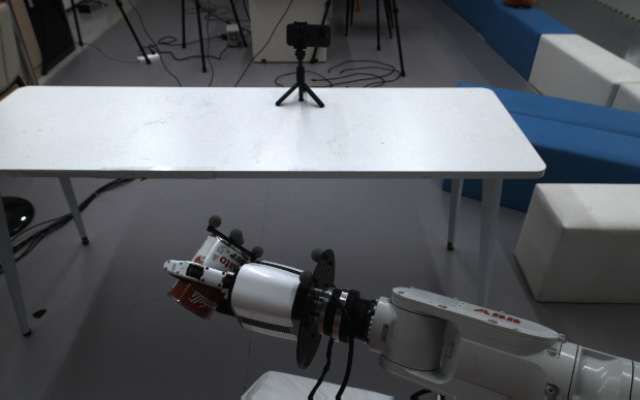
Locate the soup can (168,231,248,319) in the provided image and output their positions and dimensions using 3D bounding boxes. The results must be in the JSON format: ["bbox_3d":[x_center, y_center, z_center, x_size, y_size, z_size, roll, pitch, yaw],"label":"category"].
[{"bbox_3d":[-0.154,0.107,0.670,0.067,0.067,0.101,25,73,29],"label":"soup can"}]
